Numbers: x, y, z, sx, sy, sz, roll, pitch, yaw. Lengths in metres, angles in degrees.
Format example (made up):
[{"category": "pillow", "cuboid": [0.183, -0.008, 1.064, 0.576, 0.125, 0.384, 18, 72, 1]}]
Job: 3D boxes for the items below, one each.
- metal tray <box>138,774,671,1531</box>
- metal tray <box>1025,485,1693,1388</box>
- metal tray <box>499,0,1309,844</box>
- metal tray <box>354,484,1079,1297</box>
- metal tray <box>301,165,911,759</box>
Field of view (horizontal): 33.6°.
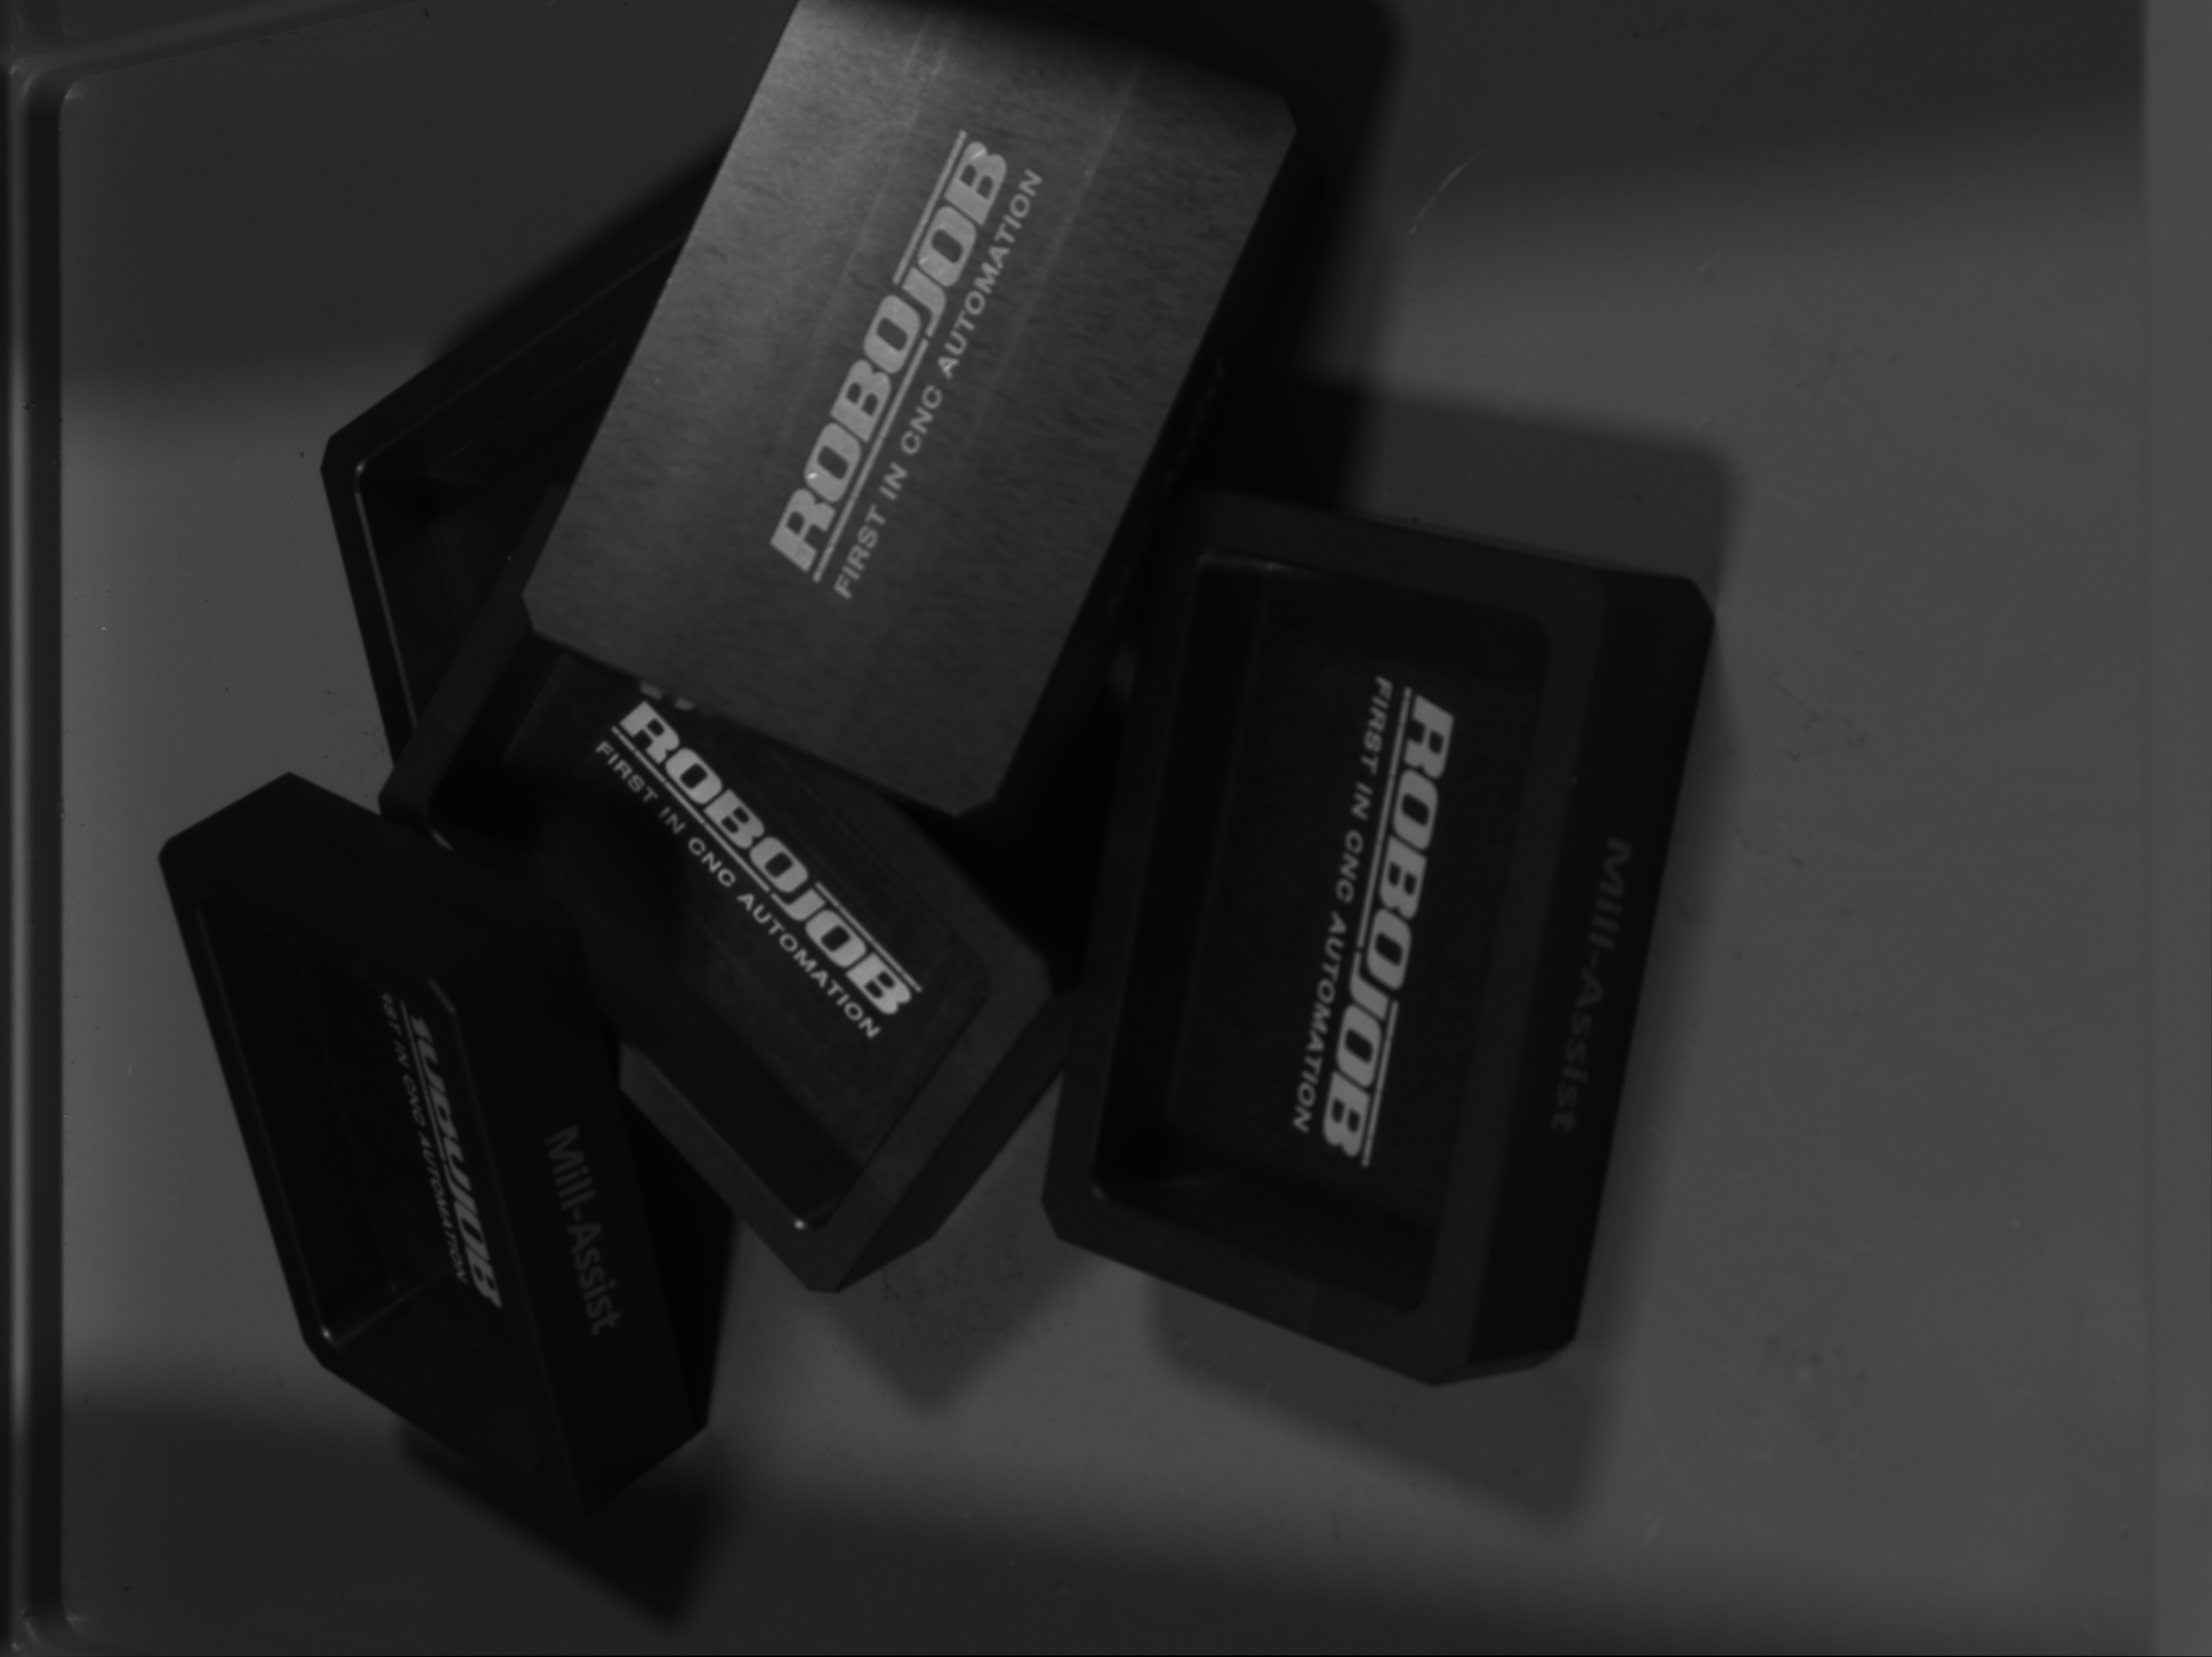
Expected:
[{"category": "metal tray", "cuboid": [-0.134, 0.062, 0.703, 0.090, 0.030, 0.130, 22, 132, 38]}, {"category": "metal tray", "cuboid": [0.039, 0.015, 0.599, 0.090, 0.030, 0.130, 16, 100, 38]}, {"category": "metal tray", "cuboid": [-0.033, -0.074, 0.614, 0.090, 0.030, 0.130, 23, 86, 14]}, {"category": "metal tray", "cuboid": [-0.069, 0.008, 0.660, 0.130, 0.030, 0.090, 45, 124, 14]}, {"category": "metal tray", "cuboid": [-0.098, -0.059, 0.712, 0.130, 0.030, 0.090, -26, 74, 36]}]
